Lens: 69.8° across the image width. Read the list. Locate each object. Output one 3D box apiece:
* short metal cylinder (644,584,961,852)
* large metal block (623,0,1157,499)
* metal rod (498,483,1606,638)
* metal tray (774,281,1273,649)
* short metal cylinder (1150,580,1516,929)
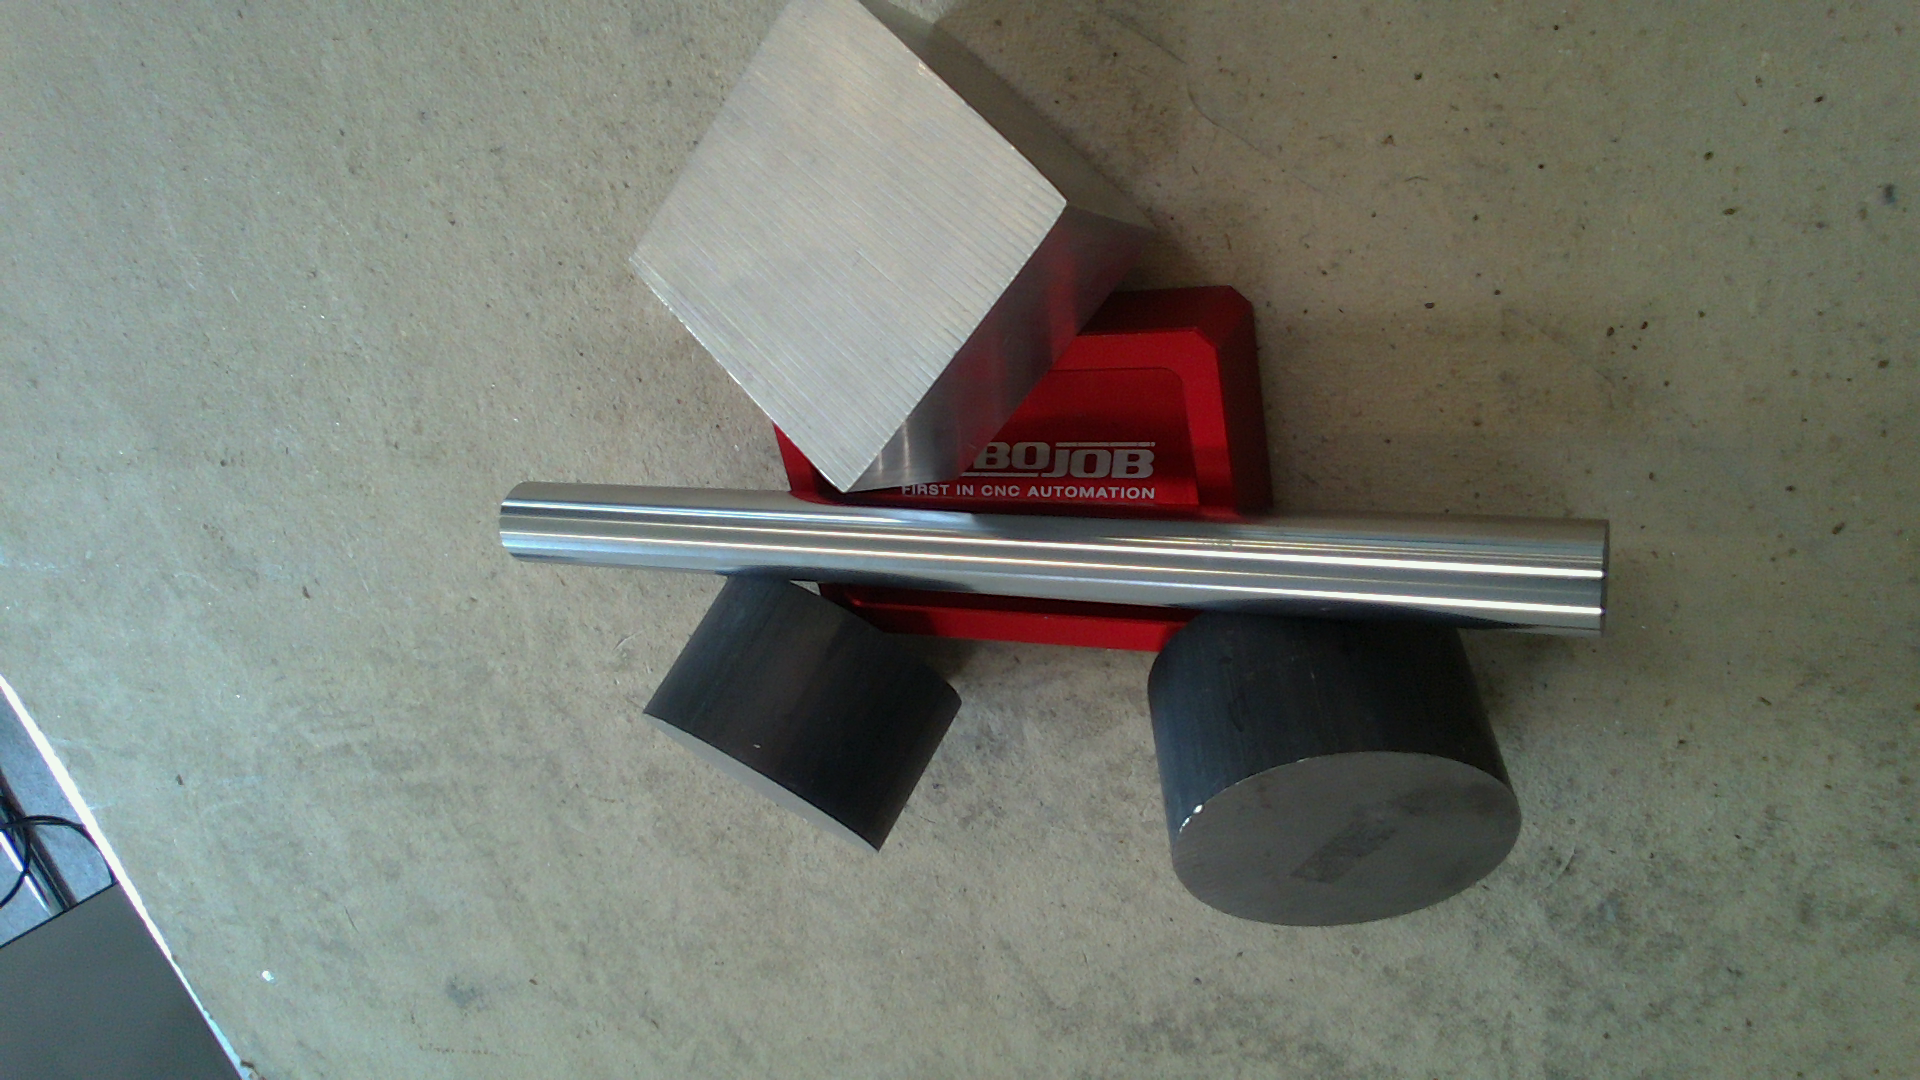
[{"bbox_3d":[-0.047,0.051,0.410,0.080,0.050,0.080,28,164,9],"label":"short metal cylinder"},{"bbox_3d":[-0.017,-0.068,0.316,0.080,0.050,0.080,47,114,16],"label":"large metal block"},{"bbox_3d":[0.001,0.001,0.355,0.299,0.025,0.025,3,120,27],"label":"metal rod"},{"bbox_3d":[0.015,-0.018,0.371,0.130,0.030,0.090,2,119,27],"label":"metal tray"},{"bbox_3d":[0.090,0.055,0.341,0.080,0.050,0.080,0,137,0],"label":"short metal cylinder"}]
